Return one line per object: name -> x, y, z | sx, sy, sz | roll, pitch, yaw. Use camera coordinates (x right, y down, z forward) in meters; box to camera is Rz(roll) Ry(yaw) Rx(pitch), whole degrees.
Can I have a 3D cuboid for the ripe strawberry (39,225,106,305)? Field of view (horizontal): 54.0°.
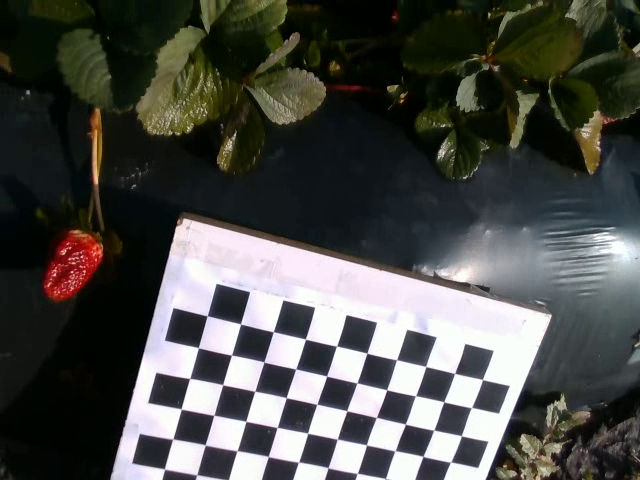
ripe strawberry -> -0.059, 0.005, 0.146 | 0.016, 0.022, 0.015 | 23, -41, -15
